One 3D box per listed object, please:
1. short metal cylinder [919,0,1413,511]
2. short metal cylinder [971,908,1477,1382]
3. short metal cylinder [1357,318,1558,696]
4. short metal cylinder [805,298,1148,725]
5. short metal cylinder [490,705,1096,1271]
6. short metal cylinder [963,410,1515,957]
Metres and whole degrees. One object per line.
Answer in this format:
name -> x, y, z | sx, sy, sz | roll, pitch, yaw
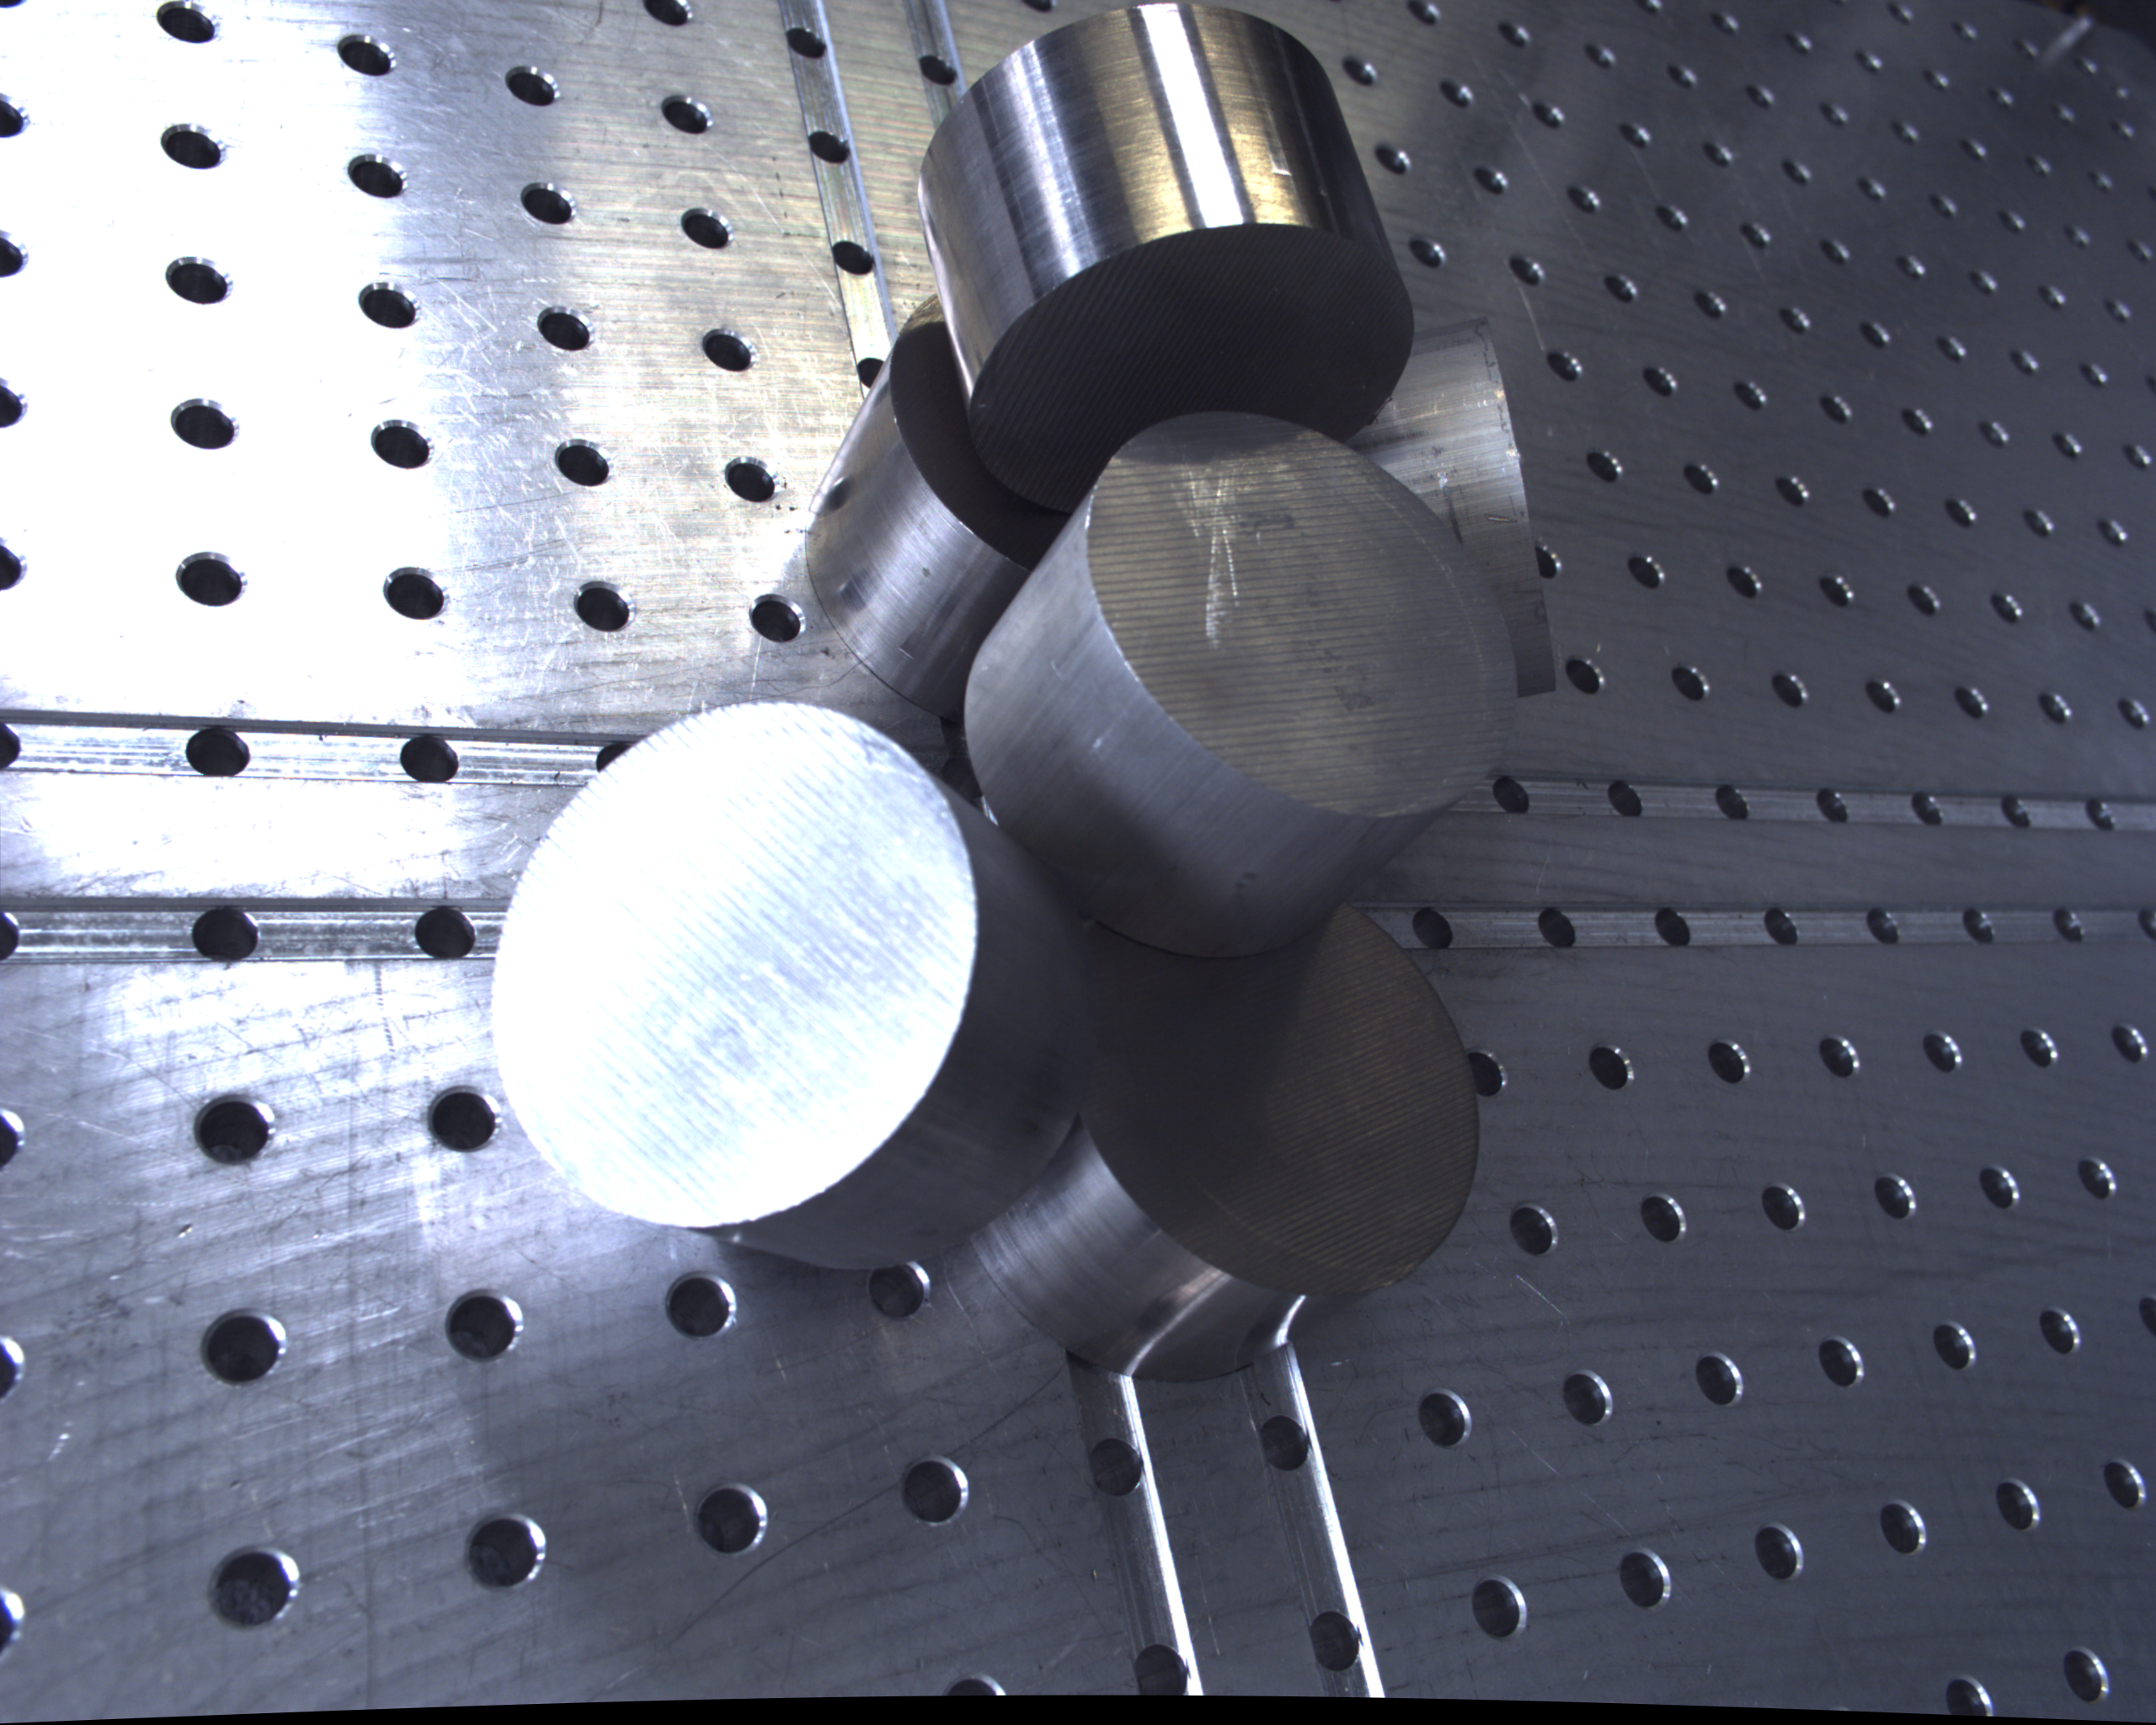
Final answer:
short metal cylinder -> 0.015, -0.107, 0.380 | 0.081, 0.080, 0.050 | 0, 62, -28
short metal cylinder -> 0.023, 0.047, 0.375 | 0.081, 0.050, 0.080 | 14, 57, -21
short metal cylinder -> 0.069, -0.071, 0.444 | 0.050, 0.080, 0.080 | -11, 60, 12
short metal cylinder -> -0.010, -0.073, 0.431 | 0.081, 0.050, 0.080 | 13, 57, -21
short metal cylinder -> -0.044, 0.021, 0.329 | 0.050, 0.080, 0.080 | 42, 29, -63
short metal cylinder -> 0.027, -0.030, 0.360 | 0.081, 0.050, 0.080 | 14, 56, -21
